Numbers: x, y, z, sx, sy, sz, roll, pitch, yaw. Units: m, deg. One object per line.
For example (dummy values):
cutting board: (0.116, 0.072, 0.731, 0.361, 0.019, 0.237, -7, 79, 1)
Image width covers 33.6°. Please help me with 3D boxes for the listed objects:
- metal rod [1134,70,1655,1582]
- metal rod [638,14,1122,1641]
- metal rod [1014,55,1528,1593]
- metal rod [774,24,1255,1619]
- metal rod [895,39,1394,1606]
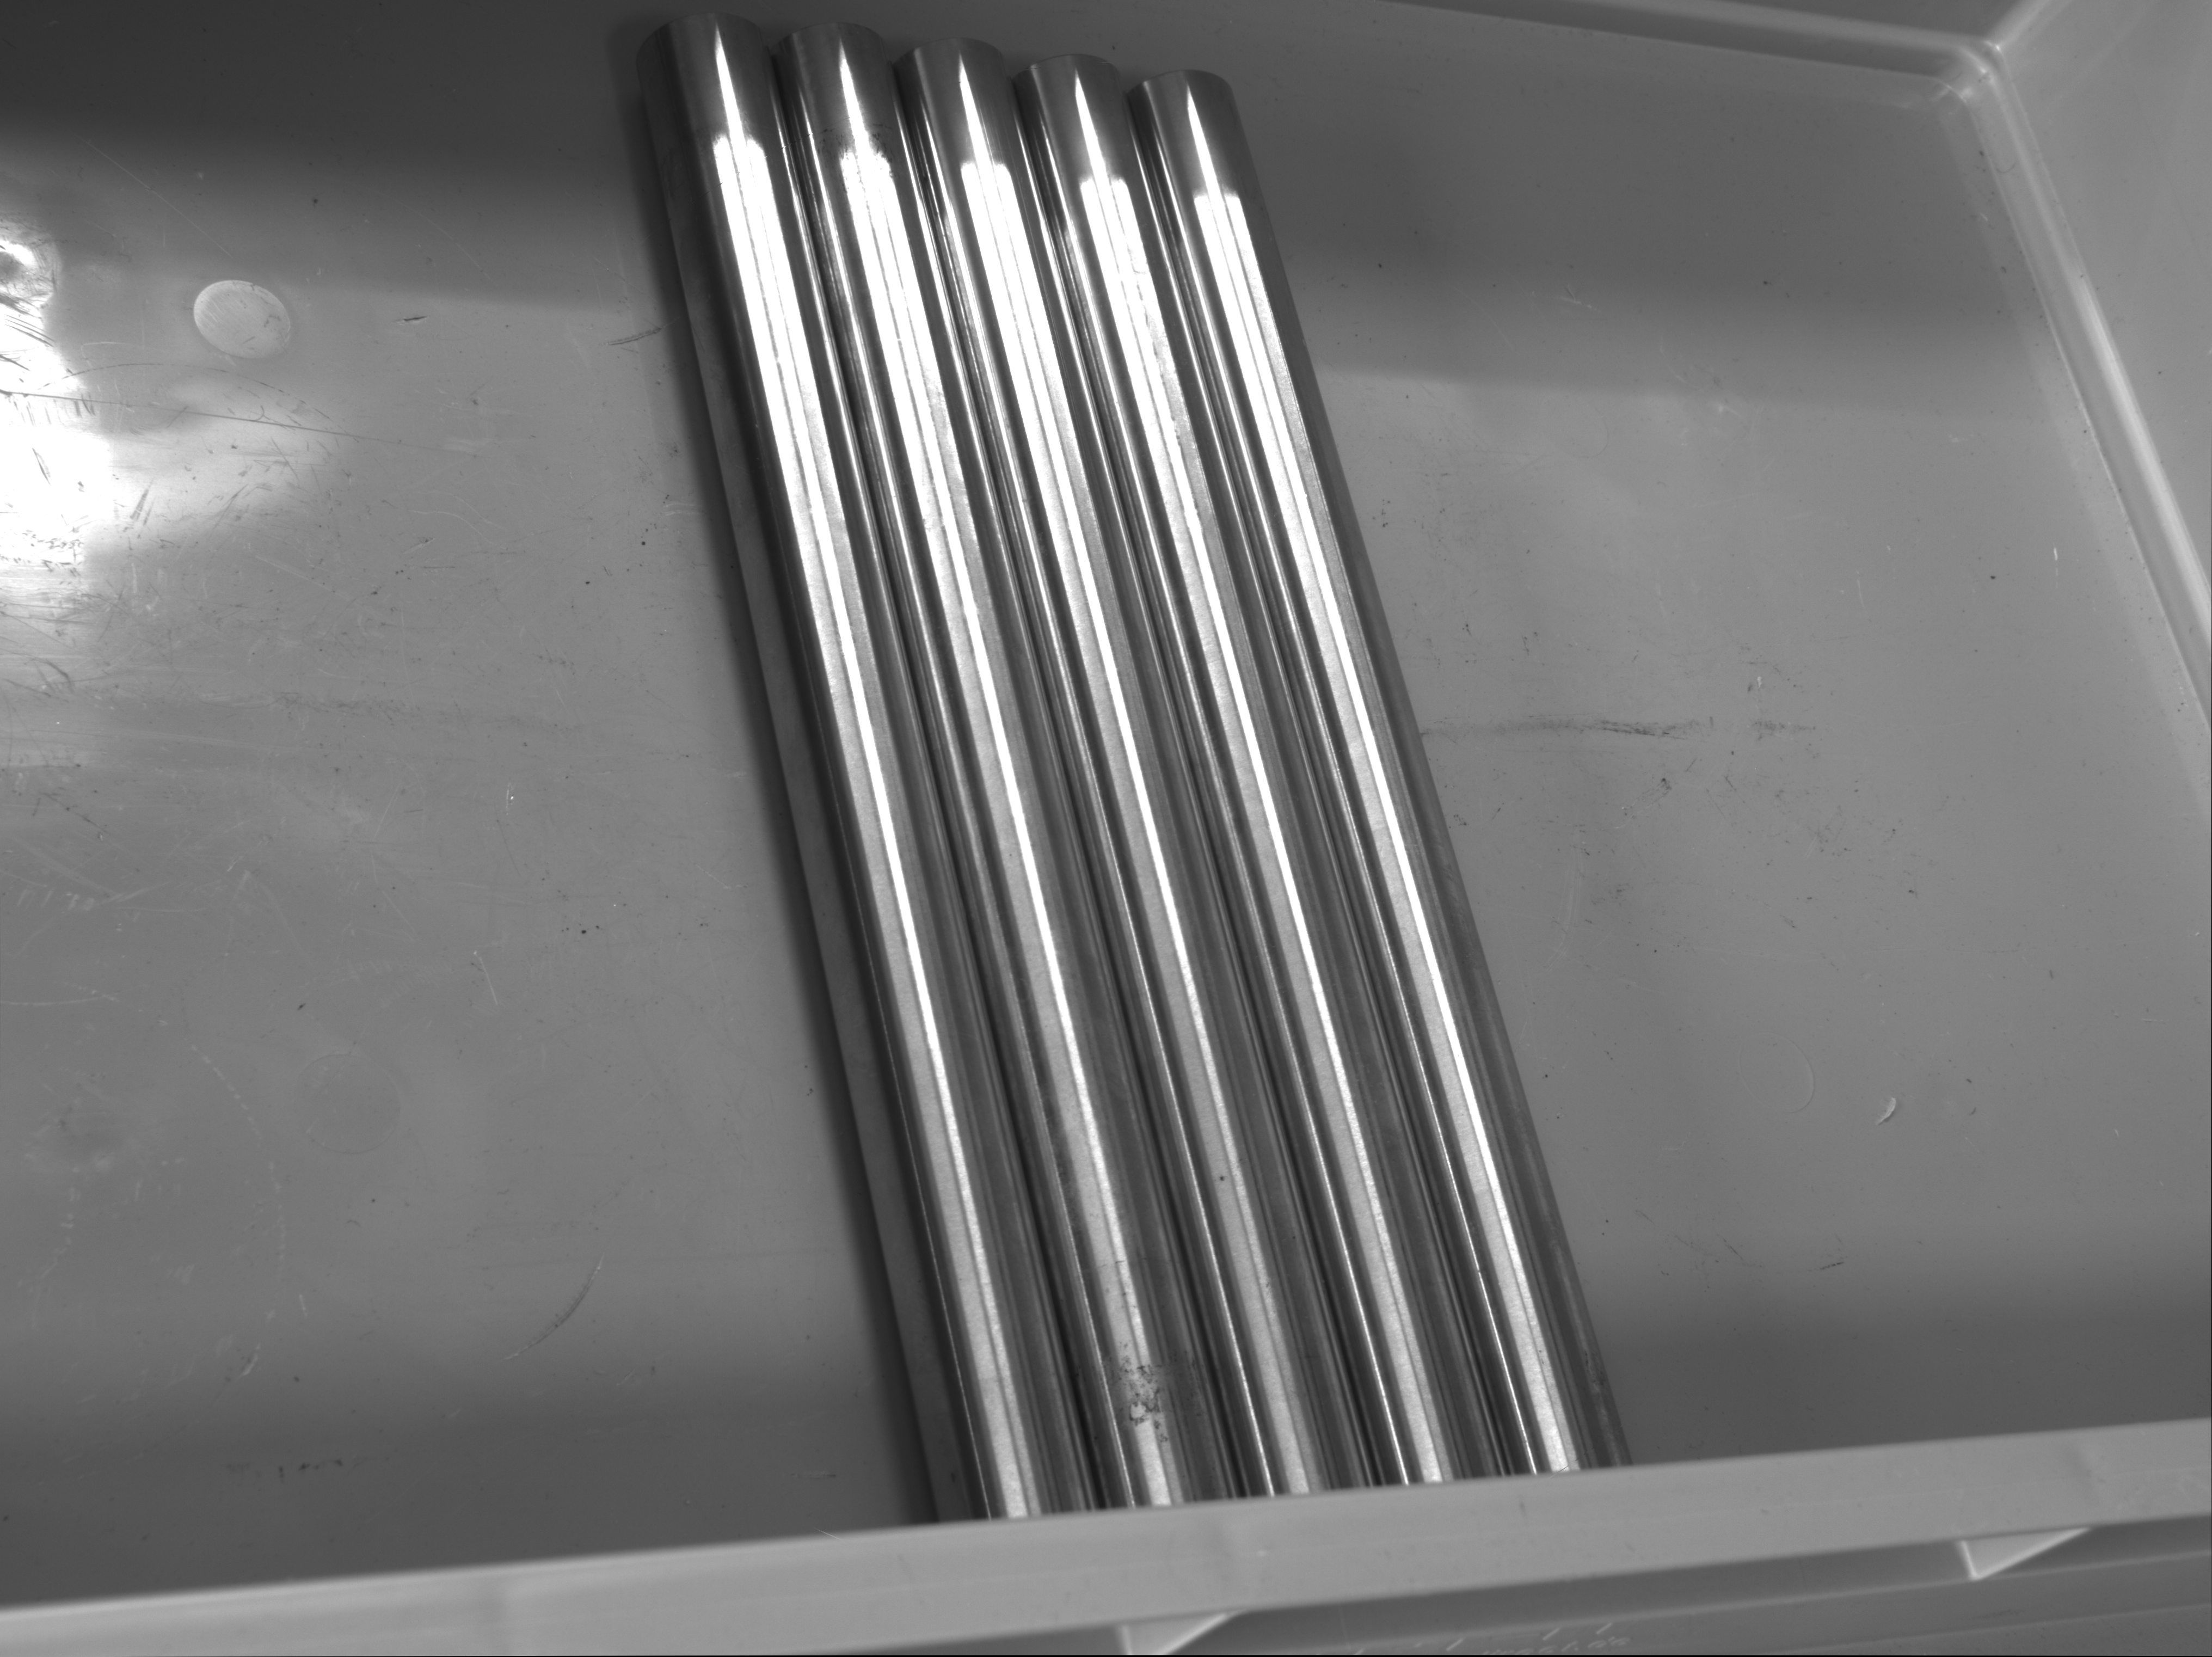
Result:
metal rod: (0.046, -0.011, 0.669, 0.025, 0.025, 0.300, 0, 62, -28)
metal rod: (-0.042, -0.012, 0.622, 0.025, 0.025, 0.300, 0, 62, -28)
metal rod: (0.024, -0.012, 0.658, 0.025, 0.025, 0.300, 0, 62, -28)
metal rod: (-0.022, -0.013, 0.634, 0.025, 0.025, 0.300, 0, 62, -28)
metal rod: (0.001, -0.013, 0.646, 0.025, 0.025, 0.300, 0, 62, -28)
